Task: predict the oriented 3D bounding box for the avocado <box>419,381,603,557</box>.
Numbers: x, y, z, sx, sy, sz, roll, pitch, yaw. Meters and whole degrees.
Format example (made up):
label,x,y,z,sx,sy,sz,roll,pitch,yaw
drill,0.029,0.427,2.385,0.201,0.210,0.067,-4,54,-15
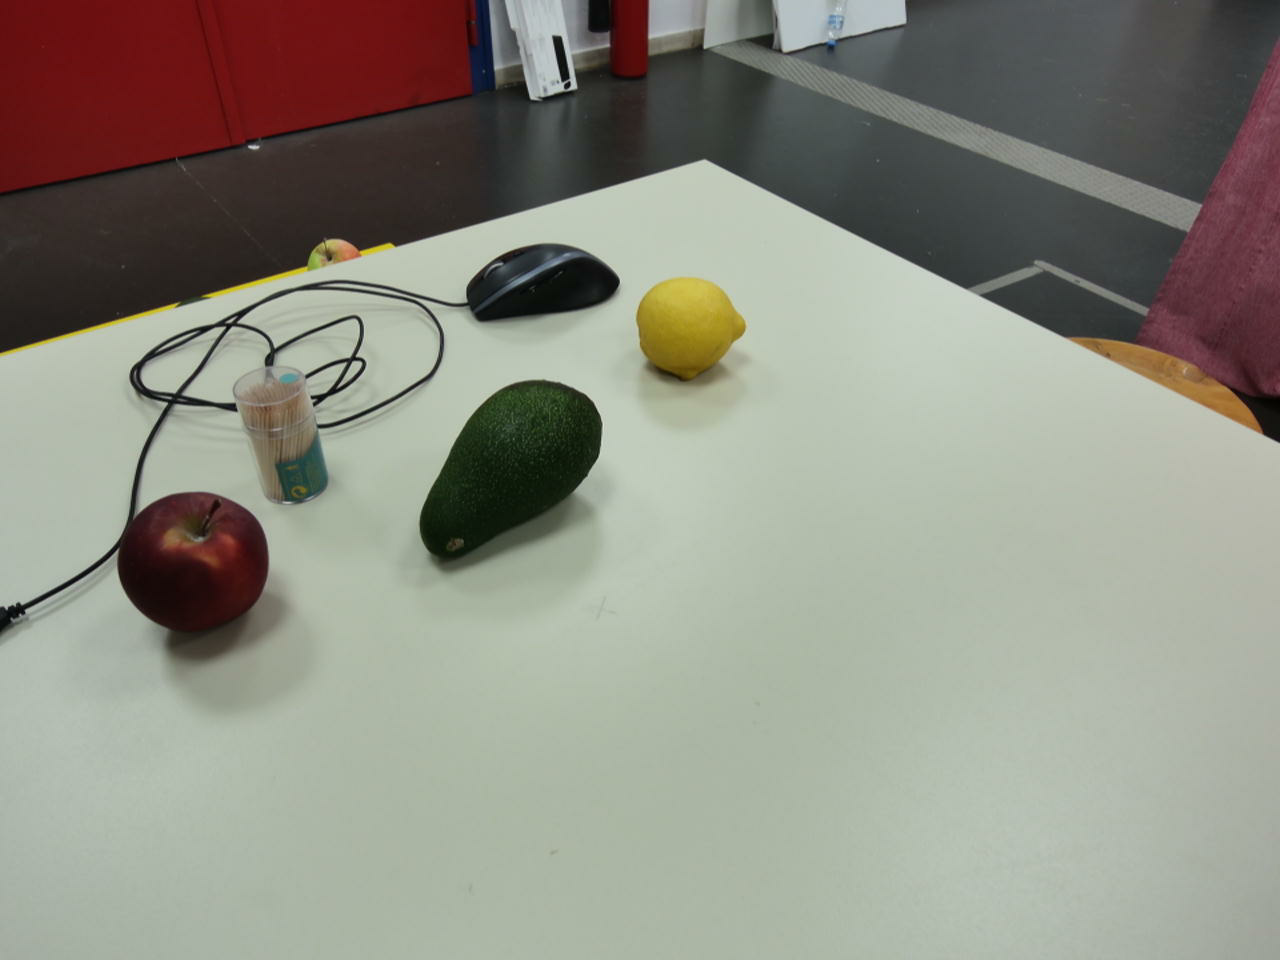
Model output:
label,x,y,z,sx,sy,sz,roll,pitch,yaw
avocado,-0.078,-0.014,0.573,0.123,0.076,0.074,-19,43,-24
